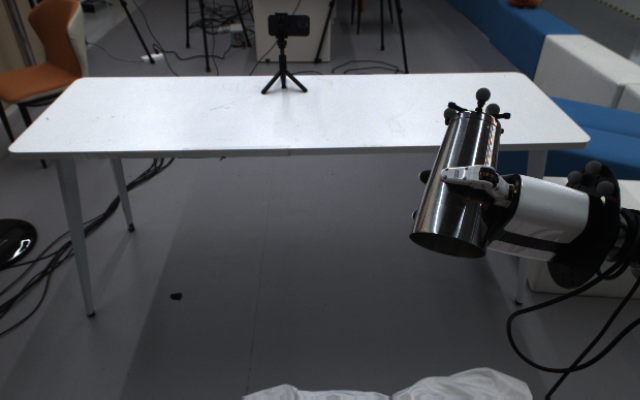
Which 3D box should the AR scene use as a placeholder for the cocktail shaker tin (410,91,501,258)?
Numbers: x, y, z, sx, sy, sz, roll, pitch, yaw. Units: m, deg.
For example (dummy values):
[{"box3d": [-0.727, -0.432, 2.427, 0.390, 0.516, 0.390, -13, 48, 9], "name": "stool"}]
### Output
[{"box3d": [0.179, -0.022, 0.609, 0.093, 0.093, 0.170, 13, 74, 16], "name": "cocktail shaker tin"}]
